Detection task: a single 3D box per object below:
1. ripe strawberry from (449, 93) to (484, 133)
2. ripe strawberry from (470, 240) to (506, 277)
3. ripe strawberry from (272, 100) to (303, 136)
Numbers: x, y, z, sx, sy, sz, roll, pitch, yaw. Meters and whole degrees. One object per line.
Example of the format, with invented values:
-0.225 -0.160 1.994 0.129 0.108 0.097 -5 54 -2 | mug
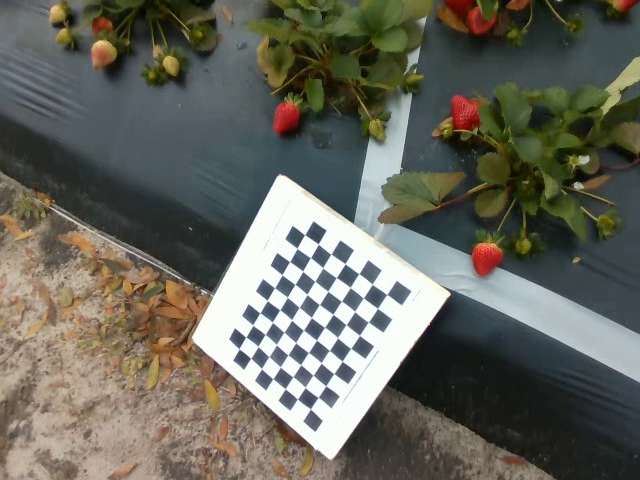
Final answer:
0.181 -0.160 1.056 0.042 0.062 0.043 -2 -36 -52 | ripe strawberry
0.193 0.020 0.997 0.039 0.047 0.041 -3 -5 39 | ripe strawberry
-0.045 -0.156 1.082 0.036 0.040 0.046 23 59 36 | ripe strawberry
